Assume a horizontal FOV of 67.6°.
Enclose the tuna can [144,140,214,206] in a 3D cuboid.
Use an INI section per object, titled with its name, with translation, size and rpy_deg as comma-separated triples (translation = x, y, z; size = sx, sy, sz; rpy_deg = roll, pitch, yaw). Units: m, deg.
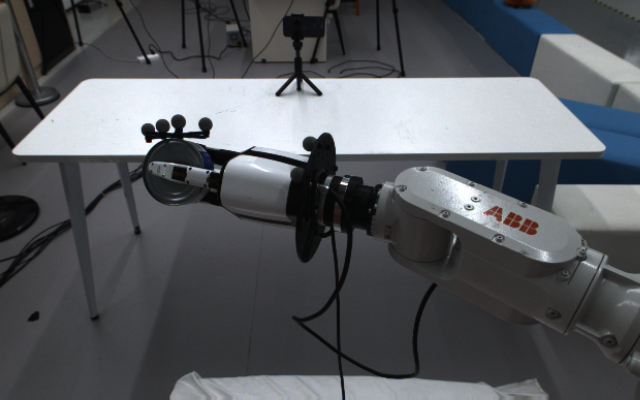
[tuna can]
translation = -0.177, -0.034, 0.623
size = 0.085, 0.085, 0.034
rpy_deg = 10, 2, 11
